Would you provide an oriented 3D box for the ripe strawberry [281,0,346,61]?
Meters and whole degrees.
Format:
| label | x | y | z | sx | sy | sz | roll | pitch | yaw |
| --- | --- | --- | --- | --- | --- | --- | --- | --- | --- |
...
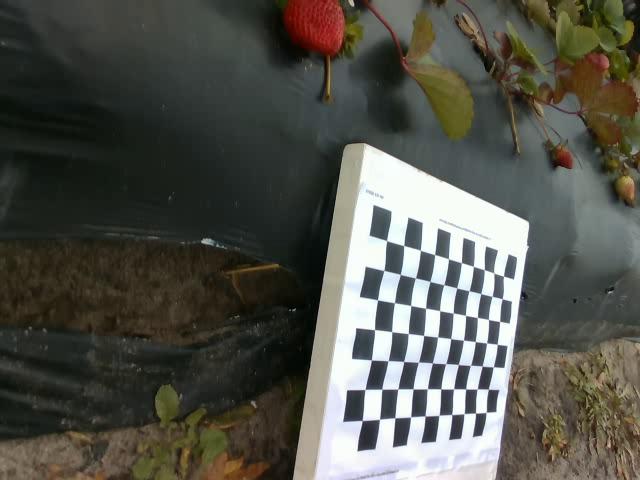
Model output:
| label | x | y | z | sx | sy | sz | roll | pitch | yaw |
| --- | --- | --- | --- | --- | --- | --- | --- | --- | --- |
| ripe strawberry | 0.002 | -0.041 | 0.149 | 0.014 | 0.017 | 0.018 | -37 | -29 | 11 |
